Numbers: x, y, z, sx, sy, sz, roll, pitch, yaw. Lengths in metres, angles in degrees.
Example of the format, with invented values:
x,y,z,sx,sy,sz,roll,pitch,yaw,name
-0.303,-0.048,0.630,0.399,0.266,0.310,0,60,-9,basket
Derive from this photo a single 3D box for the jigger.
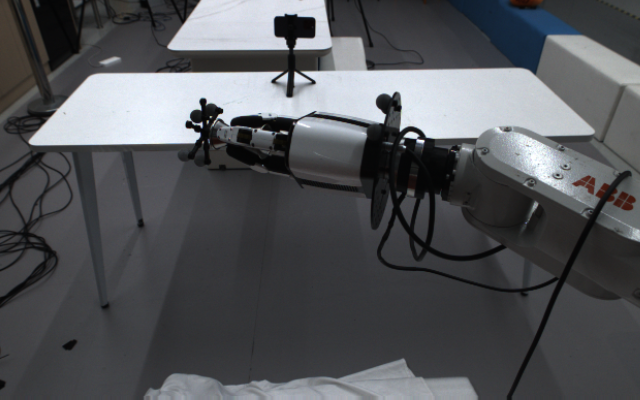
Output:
x,y,z,sx,sy,sz,roll,pitch,yaw,name
-0.093,-0.081,0.606,0.071,0.043,0.043,10,35,16,jigger
